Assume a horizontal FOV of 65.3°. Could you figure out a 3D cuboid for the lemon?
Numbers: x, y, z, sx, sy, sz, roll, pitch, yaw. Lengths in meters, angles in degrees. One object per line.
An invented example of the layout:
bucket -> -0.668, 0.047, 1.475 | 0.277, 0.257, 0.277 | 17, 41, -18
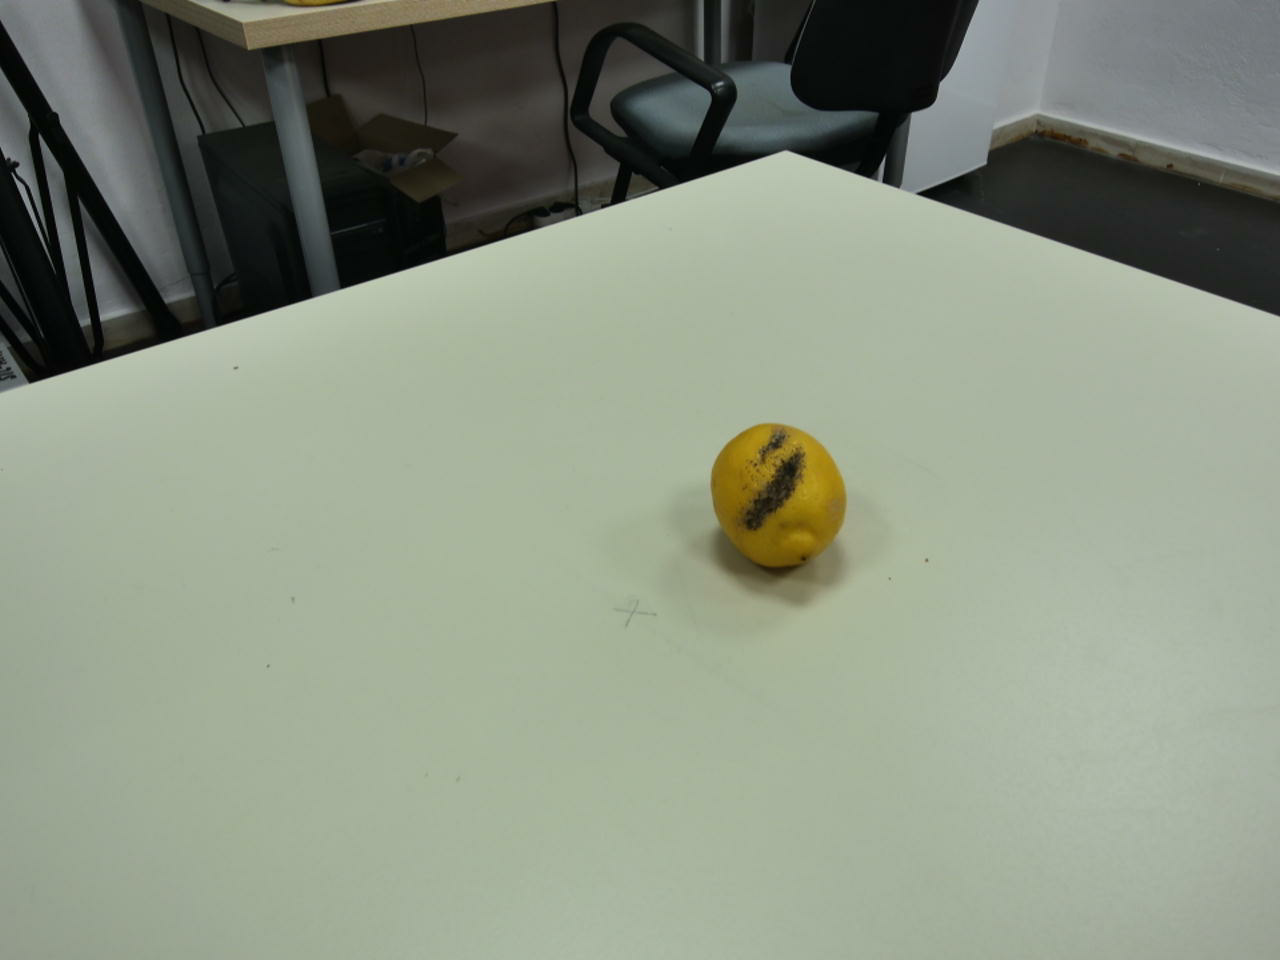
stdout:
lemon -> 0.059, 0.006, 0.426 | 0.061, 0.056, 0.058 | 29, 44, 36
